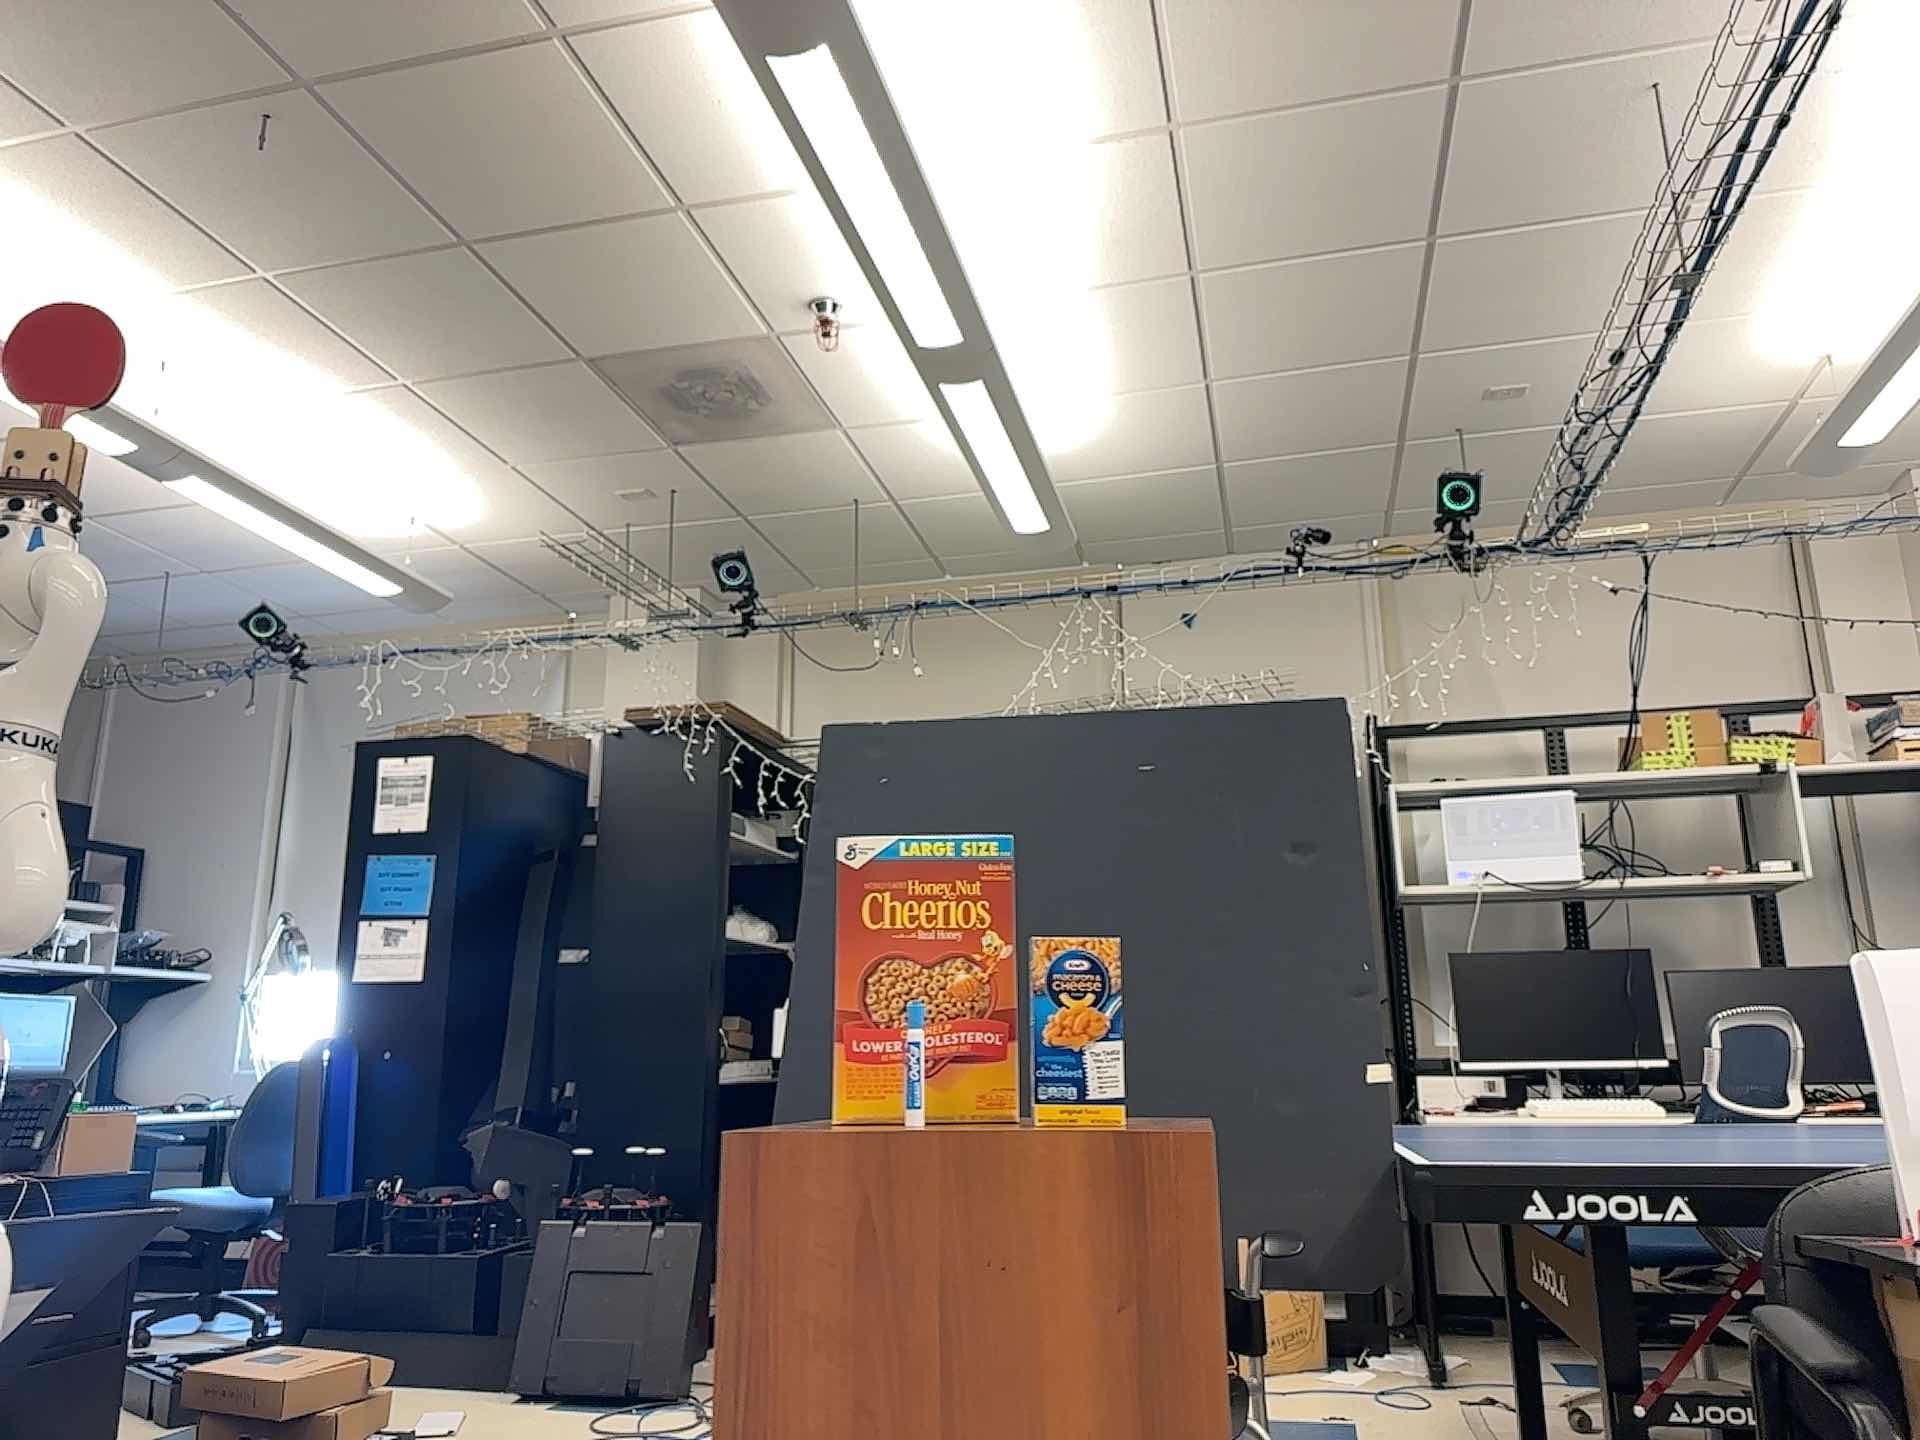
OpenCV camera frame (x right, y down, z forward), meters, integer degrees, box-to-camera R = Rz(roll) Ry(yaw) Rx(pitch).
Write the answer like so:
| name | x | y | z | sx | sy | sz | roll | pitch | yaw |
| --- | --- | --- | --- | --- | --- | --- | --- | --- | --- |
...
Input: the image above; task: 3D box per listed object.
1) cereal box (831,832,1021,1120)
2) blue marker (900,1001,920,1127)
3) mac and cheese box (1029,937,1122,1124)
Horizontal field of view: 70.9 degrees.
| name | x | y | z | sx | sy | sz | roll | pitch | yaw |
| --- | --- | --- | --- | --- | --- | --- | --- | --- | --- |
| cereal box | -0.036 | 0.277 | 1.473 | 0.195 | 0.297 | 0.065 | 0 | -15 | 1 |
| blue marker | -0.051 | 0.344 | 1.354 | 0.020 | 0.121 | 0.020 | 0 | -13 | 0 |
| mac and cheese box | 0.116 | 0.313 | 1.368 | 0.088 | 0.181 | 0.035 | -2 | -15 | 8 |
